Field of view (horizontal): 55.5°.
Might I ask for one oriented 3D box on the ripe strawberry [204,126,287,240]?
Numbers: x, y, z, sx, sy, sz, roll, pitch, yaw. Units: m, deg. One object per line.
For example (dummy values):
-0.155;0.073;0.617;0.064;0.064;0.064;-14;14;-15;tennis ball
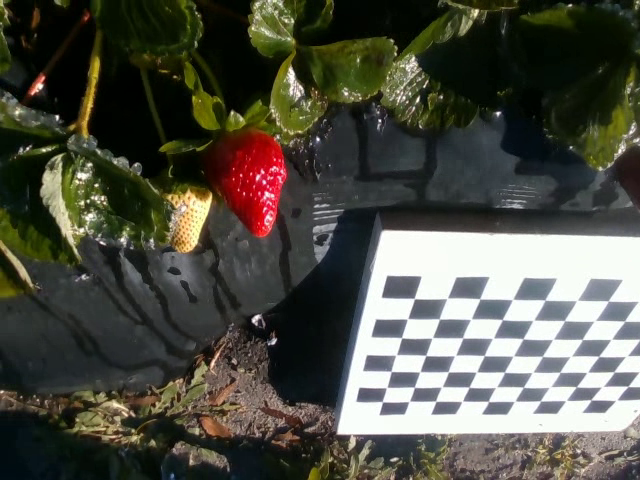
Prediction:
-0.035;-0.027;0.323;0.042;0.061;0.046;-8;5;4;ripe strawberry
